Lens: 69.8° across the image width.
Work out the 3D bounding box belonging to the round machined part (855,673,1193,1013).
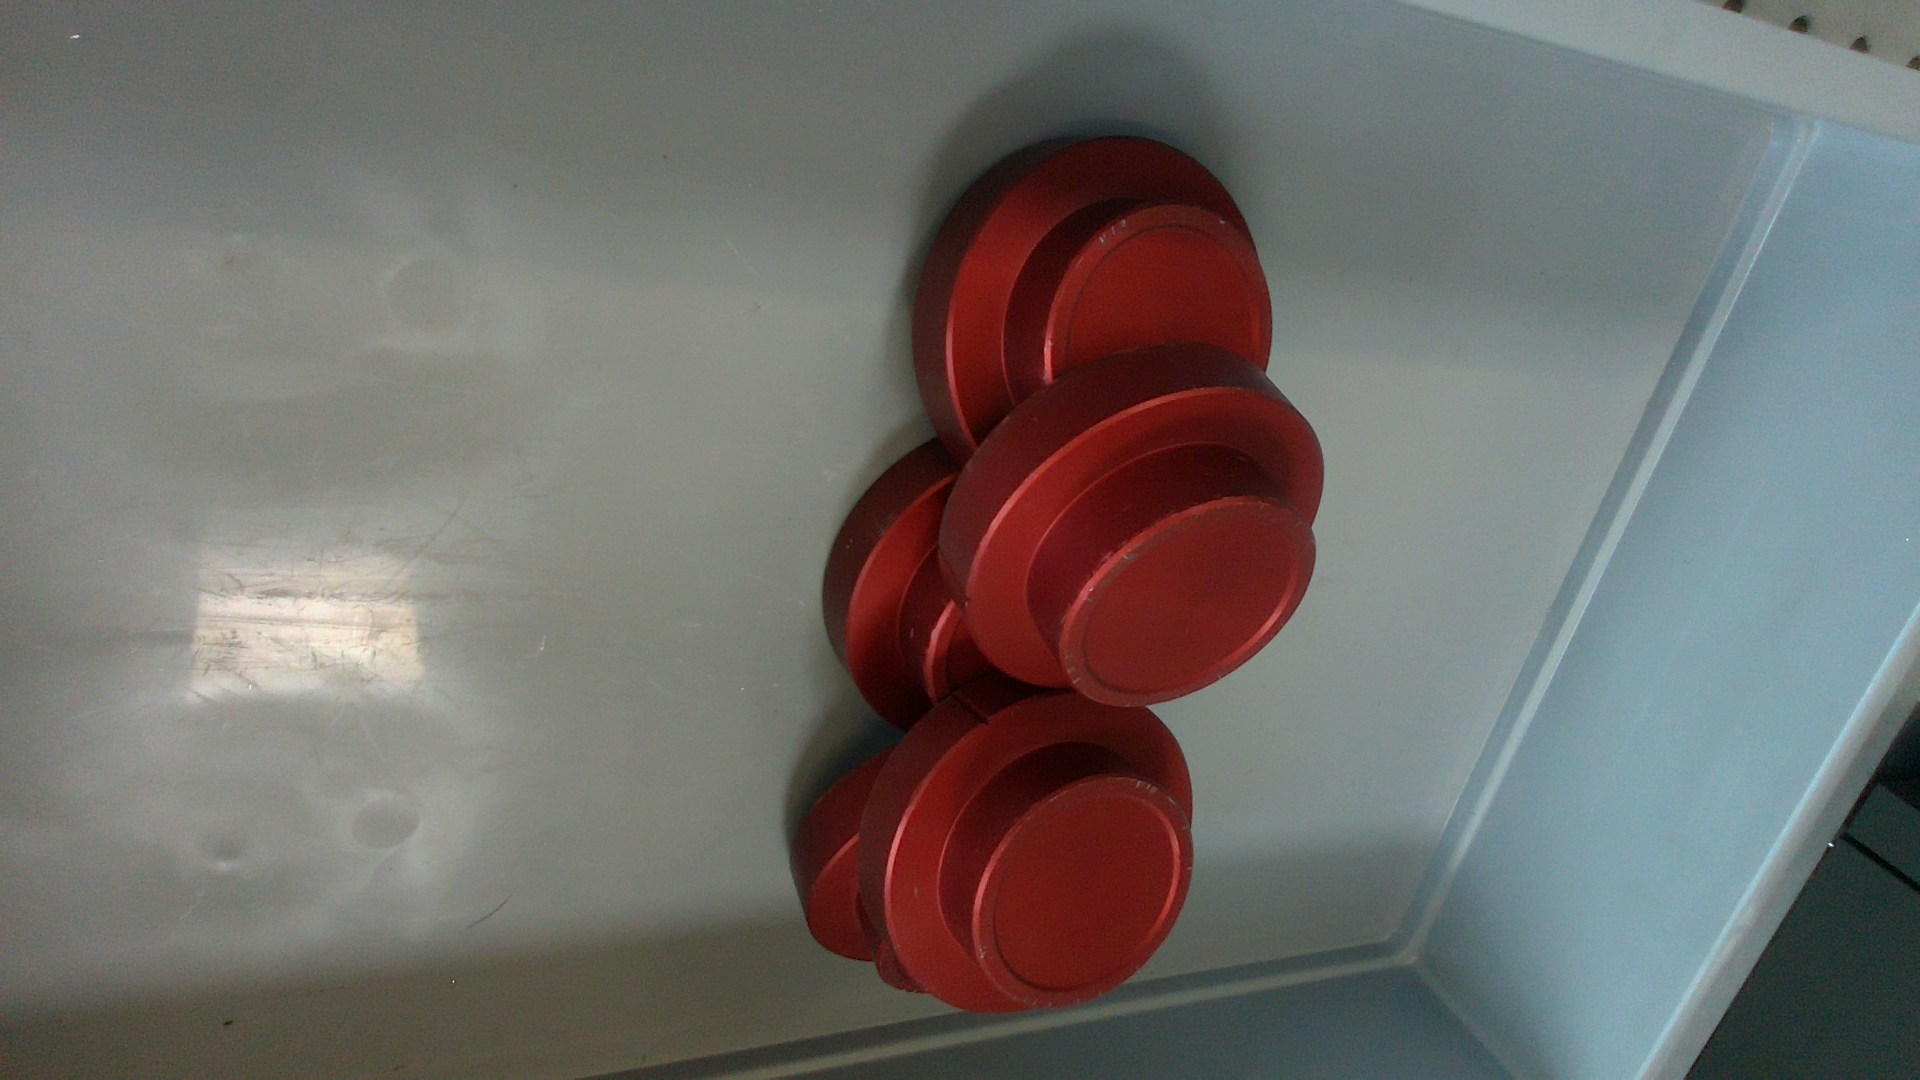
[{"bbox_3d":[0.024,0.087,0.378,0.098,0.042,0.098,-10,112,-25],"label":"round machined part"}]

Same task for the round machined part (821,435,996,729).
[{"bbox_3d":[0.013,0.018,0.395,0.098,0.042,0.098,-13,123,-21],"label":"round machined part"}]

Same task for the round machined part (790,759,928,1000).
[{"bbox_3d":[0.000,0.105,0.424,0.098,0.042,0.098,-15,139,-13],"label":"round machined part"}]

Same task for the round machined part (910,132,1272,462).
[{"bbox_3d":[0.040,-0.053,0.352,0.098,0.042,0.098,-7,106,-27],"label":"round machined part"}]

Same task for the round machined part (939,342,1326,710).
[{"bbox_3d":[0.047,0.004,0.339,0.098,0.042,0.098,-15,136,-15],"label":"round machined part"}]
